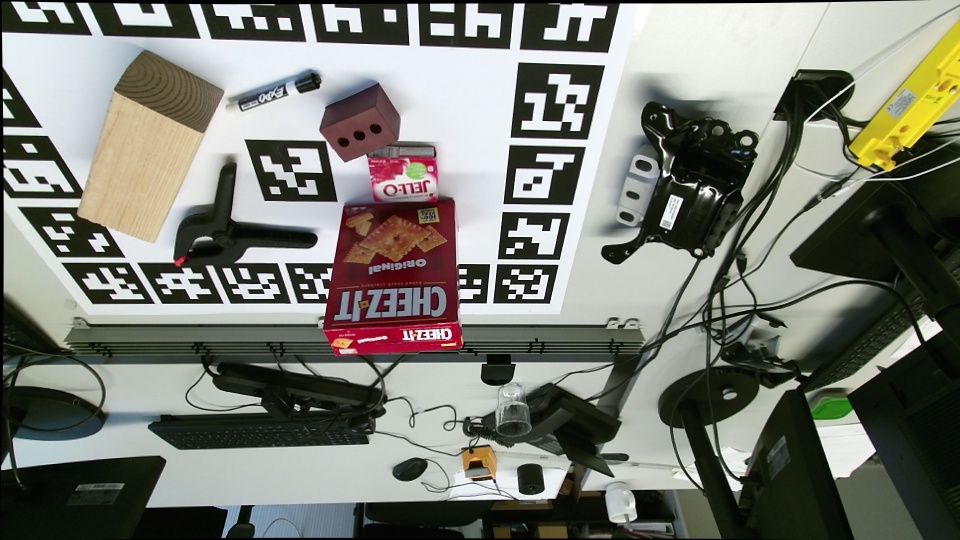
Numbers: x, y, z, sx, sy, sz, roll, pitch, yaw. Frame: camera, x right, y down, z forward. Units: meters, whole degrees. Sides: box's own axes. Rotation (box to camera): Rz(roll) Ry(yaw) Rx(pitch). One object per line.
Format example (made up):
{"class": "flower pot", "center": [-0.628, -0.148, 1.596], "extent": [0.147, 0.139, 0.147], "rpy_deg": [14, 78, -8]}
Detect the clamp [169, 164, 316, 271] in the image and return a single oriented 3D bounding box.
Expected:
{"class": "clamp", "center": [-0.365, -0.048, 0.764], "extent": [0.203, 0.036, 0.166], "rpy_deg": [-23, 131, 17]}

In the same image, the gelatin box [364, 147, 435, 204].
{"class": "gelatin box", "center": [-0.105, -0.125, 0.715], "extent": [0.090, 0.030, 0.073], "rpy_deg": [-1, 133, -4]}

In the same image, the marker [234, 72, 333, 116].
{"class": "marker", "center": [-0.230, -0.207, 0.628], "extent": [0.121, 0.019, 0.020], "rpy_deg": [-14, 132, 10]}

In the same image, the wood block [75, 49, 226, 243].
{"class": "wood block", "center": [-0.394, -0.139, 0.640], "extent": [0.090, 0.090, 0.206], "rpy_deg": [26, 130, -30]}

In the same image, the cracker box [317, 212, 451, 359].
{"class": "cracker box", "center": [-0.120, 0.015, 0.714], "extent": [0.165, 0.212, 0.072], "rpy_deg": [-2, 136, 0]}

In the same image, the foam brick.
{"class": "foam brick", "center": [-0.141, -0.175, 0.645], "extent": [0.078, 0.051, 0.053], "rpy_deg": [-18, 131, 13]}
